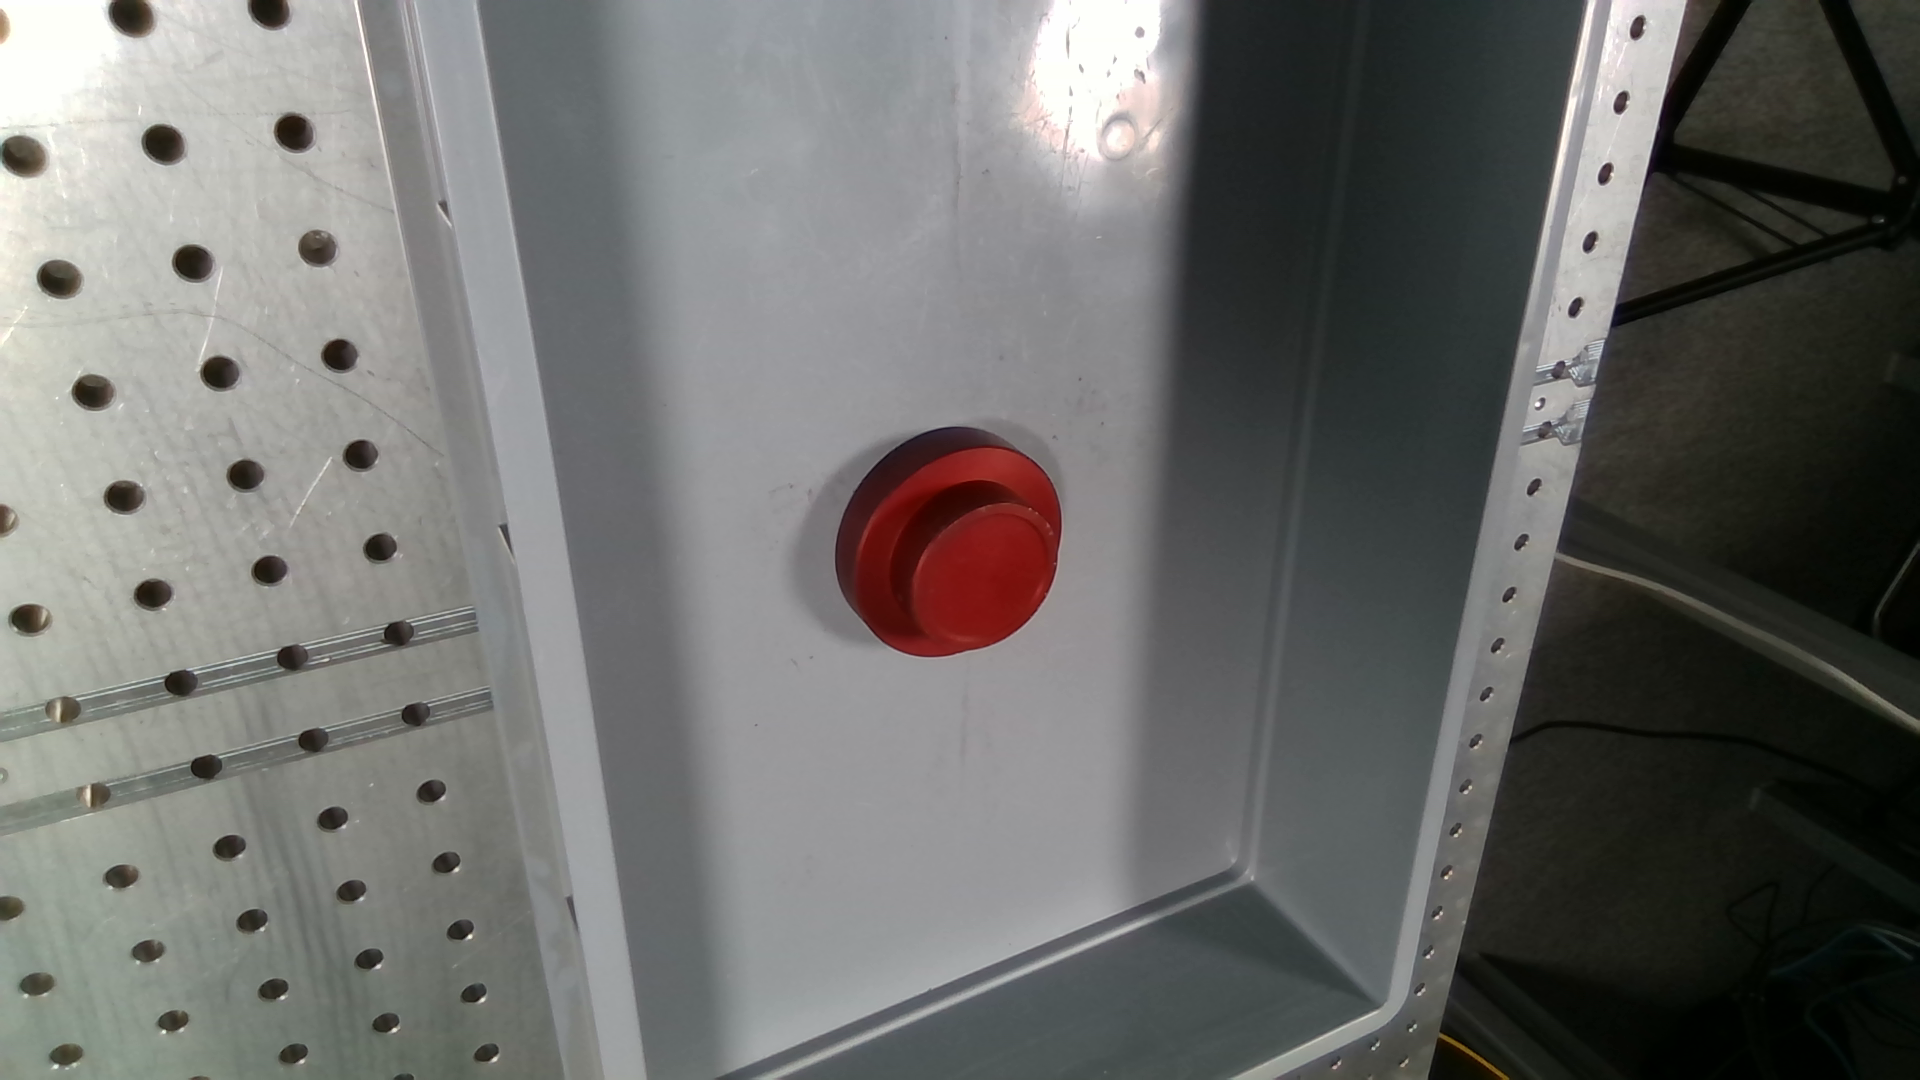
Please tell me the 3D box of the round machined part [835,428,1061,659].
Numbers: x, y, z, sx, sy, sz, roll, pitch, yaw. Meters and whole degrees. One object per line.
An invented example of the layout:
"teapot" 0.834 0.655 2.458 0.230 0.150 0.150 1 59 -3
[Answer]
"round machined part" 0.001 0.007 0.570 0.098 0.042 0.098 -14 122 -25
